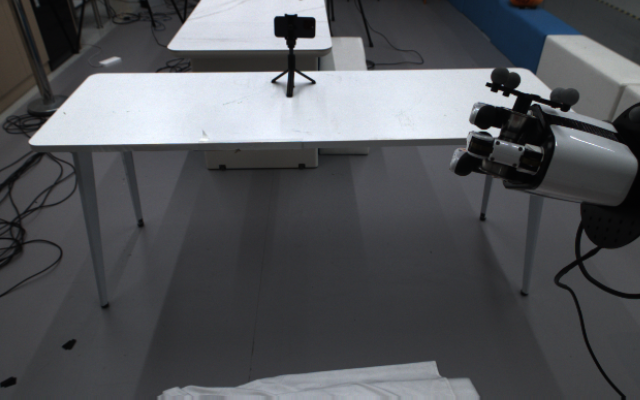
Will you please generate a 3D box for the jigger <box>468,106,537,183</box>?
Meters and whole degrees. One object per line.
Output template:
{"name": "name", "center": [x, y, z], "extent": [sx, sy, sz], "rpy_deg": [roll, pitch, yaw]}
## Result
{"name": "jigger", "center": [0.200, -0.060, 0.518], "extent": [0.043, 0.071, 0.043], "rpy_deg": [15, 16, -5]}
